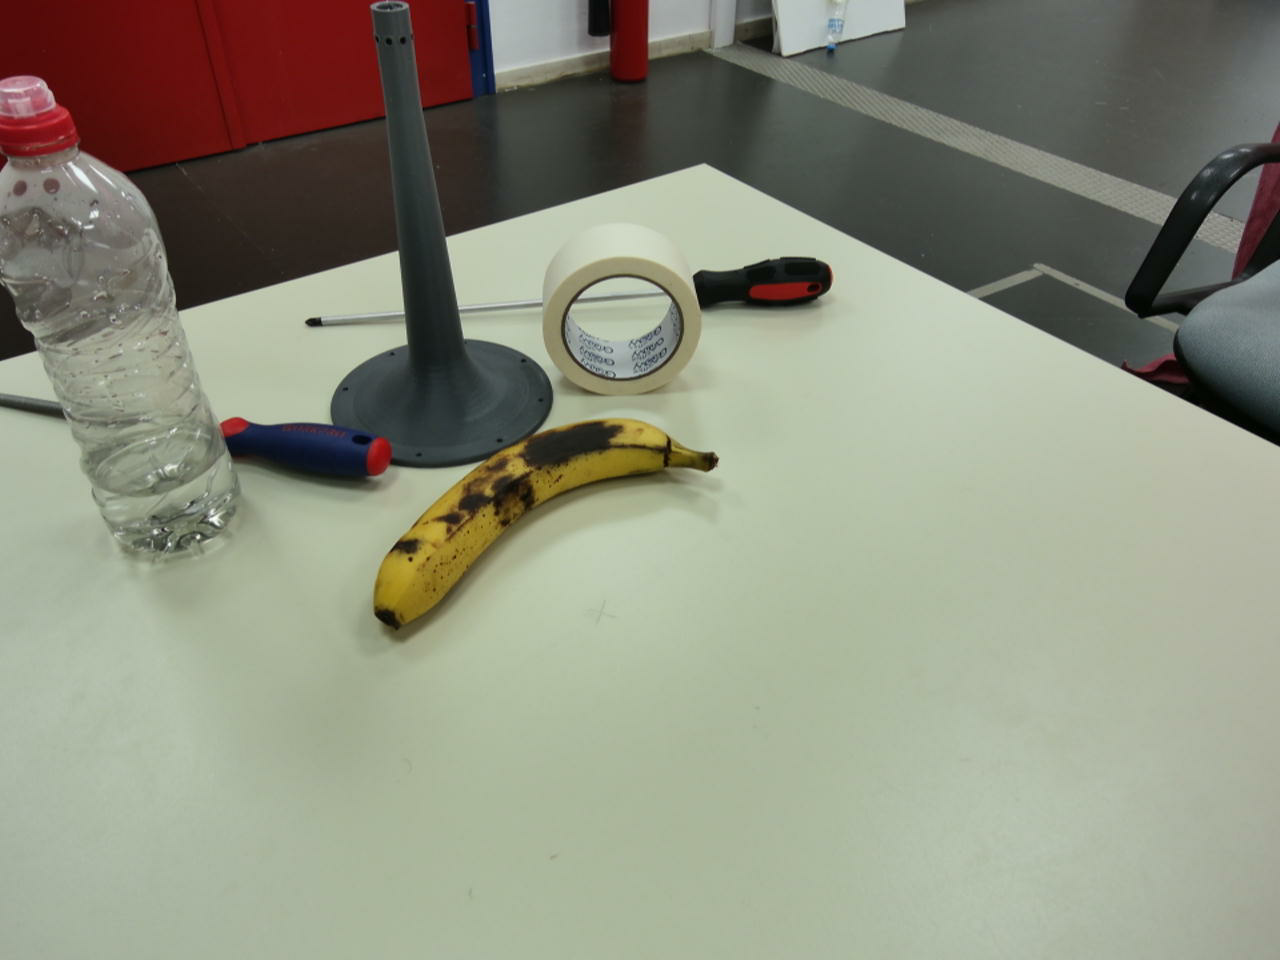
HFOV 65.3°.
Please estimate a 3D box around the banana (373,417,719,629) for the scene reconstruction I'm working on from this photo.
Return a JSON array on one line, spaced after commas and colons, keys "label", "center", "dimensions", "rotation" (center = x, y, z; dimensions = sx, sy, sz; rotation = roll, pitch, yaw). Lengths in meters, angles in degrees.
[{"label": "banana", "center": [-0.063, 0.010, 0.574], "dimensions": [0.222, 0.037, 0.084], "rotation": [-24, 45, -29]}]
